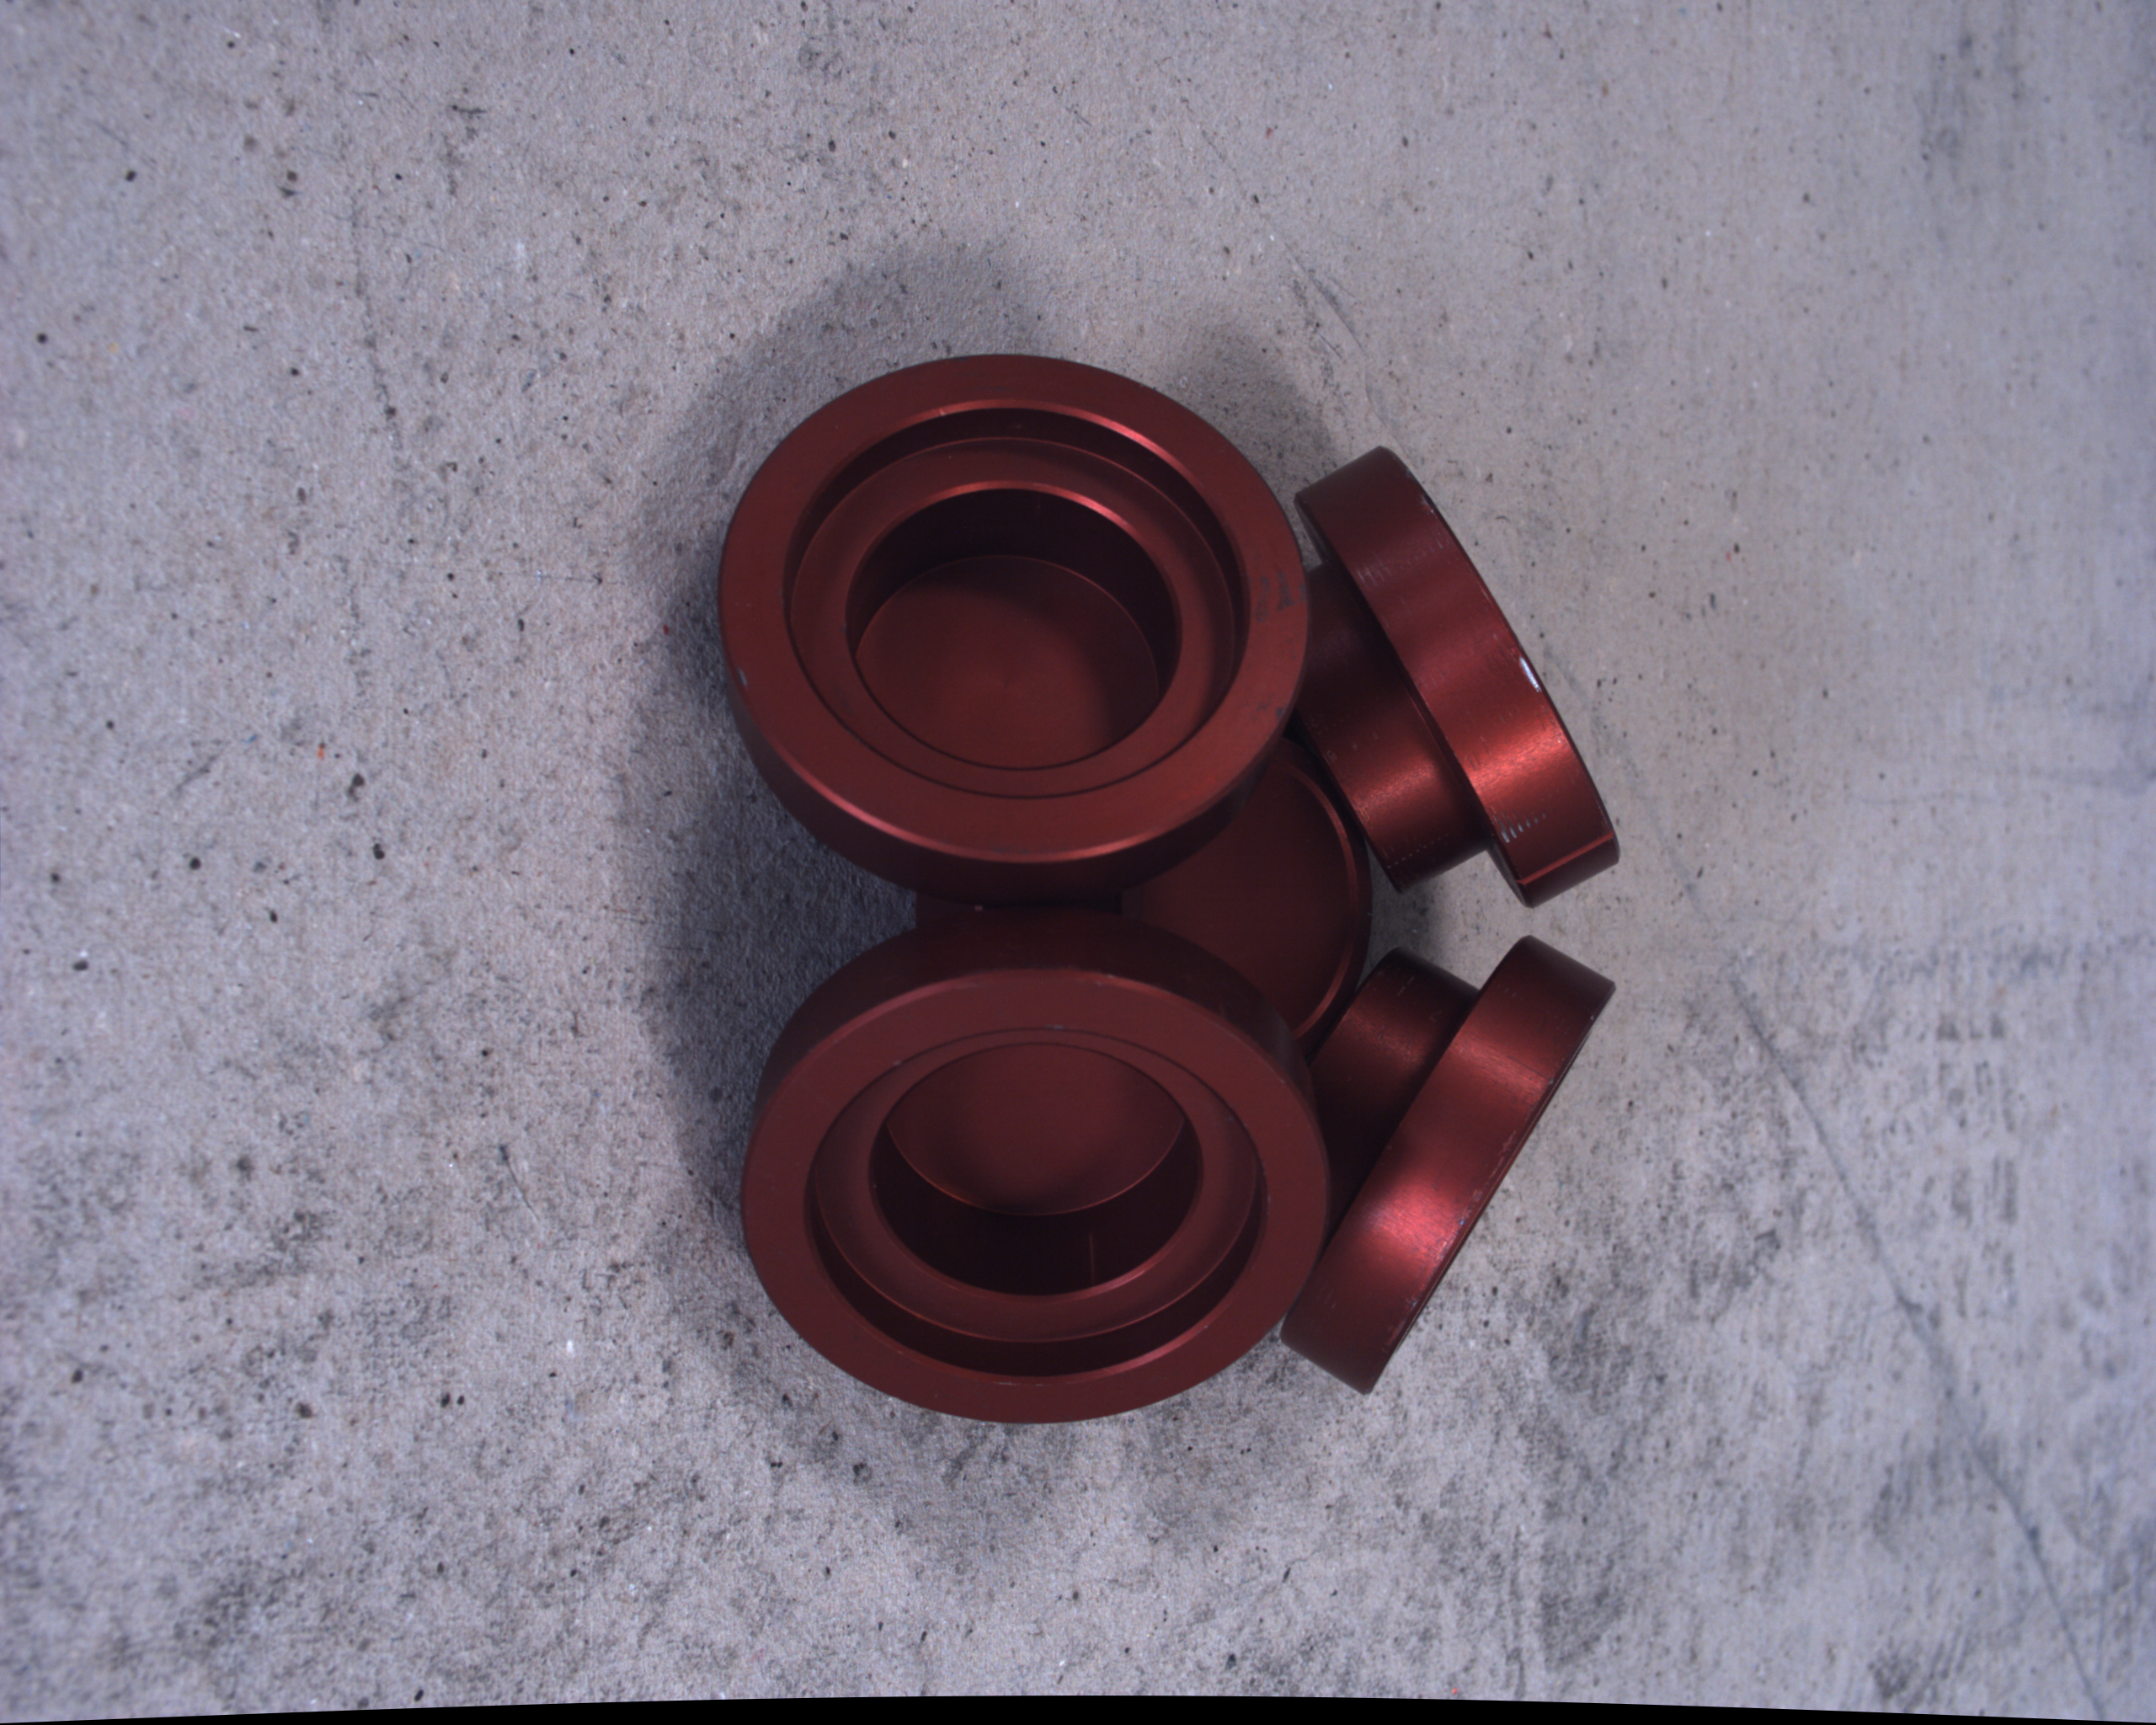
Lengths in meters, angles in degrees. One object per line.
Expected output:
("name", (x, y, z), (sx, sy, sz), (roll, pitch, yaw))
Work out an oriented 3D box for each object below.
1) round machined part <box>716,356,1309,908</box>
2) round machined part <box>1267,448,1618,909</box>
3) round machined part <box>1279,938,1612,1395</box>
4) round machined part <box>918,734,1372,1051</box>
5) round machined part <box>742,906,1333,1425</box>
("round machined part", (-0.012, -0.036, 0.364), (0.099, 0.042, 0.098), (2, 65, -5))
("round machined part", (0.068, -0.032, 0.429), (0.042, 0.098, 0.098), (-30, 115, 7))
("round machined part", (0.067, 0.057, 0.430), (0.098, 0.042, 0.098), (-53, 164, -22))
("round machined part", (0.020, 0.008, 0.411), (0.099, 0.042, 0.097), (2, 87, -41))
("round machined part", (-0.007, 0.049, 0.366), (0.098, 0.098, 0.042), (54, 15, -27))
